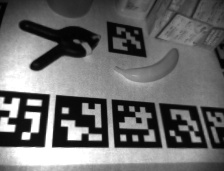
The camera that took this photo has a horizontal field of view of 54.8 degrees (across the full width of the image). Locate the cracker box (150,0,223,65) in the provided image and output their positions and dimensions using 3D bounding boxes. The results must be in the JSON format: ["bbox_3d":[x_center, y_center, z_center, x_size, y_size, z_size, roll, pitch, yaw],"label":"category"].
[{"bbox_3d":[0.225,-0.144,0.541,0.215,0.164,0.071,8,54,-13],"label":"cracker box"}]

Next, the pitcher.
[{"bbox_3d":[-0.091,-0.243,0.428,0.191,0.242,0.132,-9,62,-27],"label":"pitcher"}]

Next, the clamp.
[{"bbox_3d":[-0.113,-0.066,0.464,0.167,0.036,0.121,-6,61,-25],"label":"clamp"}]

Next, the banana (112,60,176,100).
[{"bbox_3d":[0.097,-0.012,0.517,0.199,0.039,0.074,-25,70,-31],"label":"banana"}]

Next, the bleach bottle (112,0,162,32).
[{"bbox_3d":[0.083,-0.242,0.516,0.103,0.250,0.067,7,56,-14],"label":"bleach bottle"}]
